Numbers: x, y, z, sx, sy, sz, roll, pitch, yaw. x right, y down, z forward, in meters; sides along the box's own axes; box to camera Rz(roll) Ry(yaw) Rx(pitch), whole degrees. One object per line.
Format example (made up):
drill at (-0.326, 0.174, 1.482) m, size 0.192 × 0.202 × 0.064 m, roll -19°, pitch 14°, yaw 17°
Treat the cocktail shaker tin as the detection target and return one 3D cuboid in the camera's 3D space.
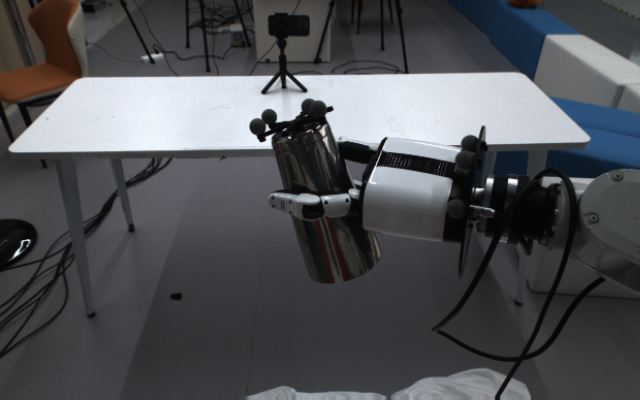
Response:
cocktail shaker tin at (0.005, -0.001, 0.553) m, size 0.093 × 0.170 × 0.093 m, roll -17°, pitch 20°, yaw 7°
